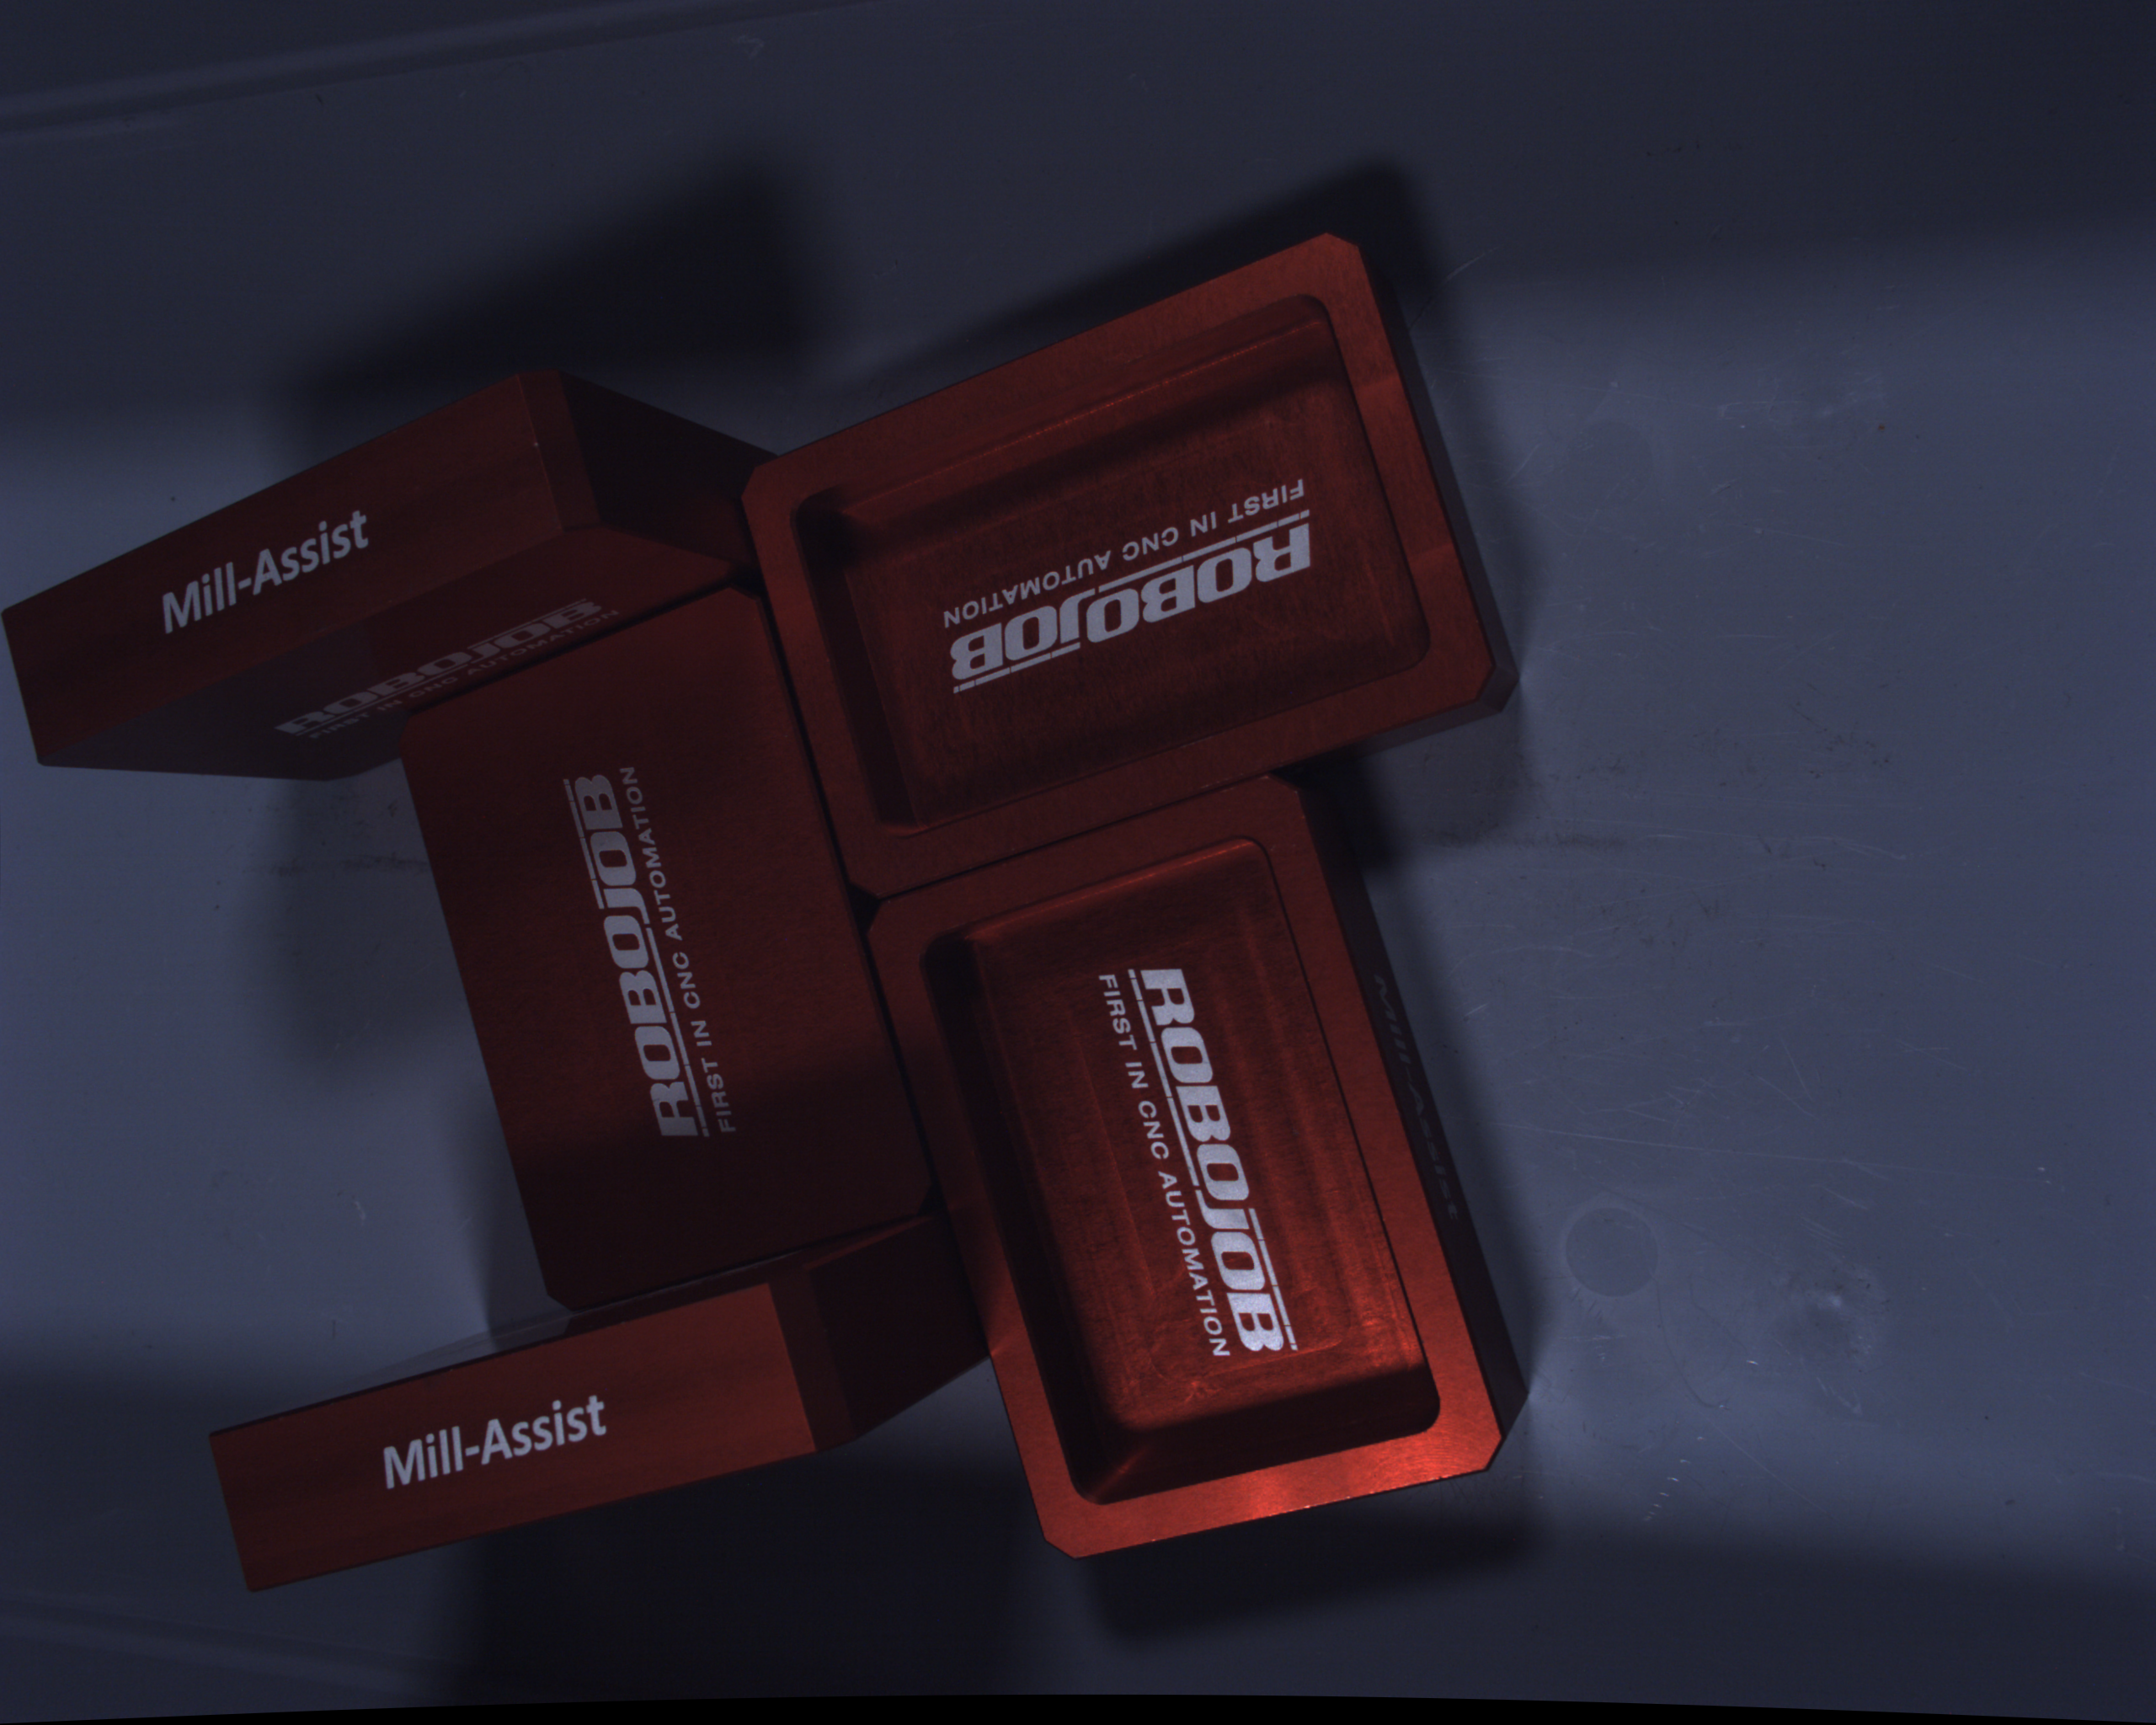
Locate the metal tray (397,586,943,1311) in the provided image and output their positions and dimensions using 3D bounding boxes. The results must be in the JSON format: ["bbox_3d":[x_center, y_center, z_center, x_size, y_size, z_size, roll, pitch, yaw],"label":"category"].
[{"bbox_3d":[-0.081,0.019,0.432,0.090,0.030,0.129,-18,84,18],"label":"metal tray"}]

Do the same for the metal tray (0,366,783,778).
[{"bbox_3d":[-0.132,-0.053,0.417,0.130,0.090,0.030,-19,84,18],"label":"metal tray"}]

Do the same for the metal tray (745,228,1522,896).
[{"bbox_3d":[0.009,-0.054,0.402,0.130,0.030,0.090,-18,84,18],"label":"metal tray"}]

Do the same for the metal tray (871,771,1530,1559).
[{"bbox_3d":[0.022,0.057,0.397,0.090,0.030,0.129,-18,84,18],"label":"metal tray"}]

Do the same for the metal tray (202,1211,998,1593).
[{"bbox_3d":[-0.086,0.100,0.402,0.130,0.090,0.030,-18,84,18],"label":"metal tray"}]
